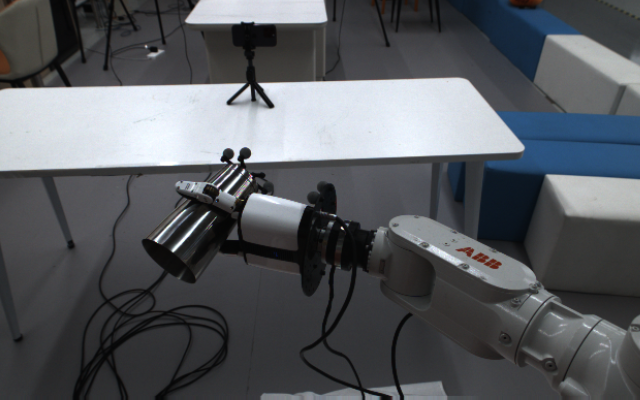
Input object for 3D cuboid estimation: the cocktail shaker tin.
[{"bbox_3d":[-0.162,0.023,0.700,0.093,0.093,0.170,19,55,23],"label":"cocktail shaker tin"}]
